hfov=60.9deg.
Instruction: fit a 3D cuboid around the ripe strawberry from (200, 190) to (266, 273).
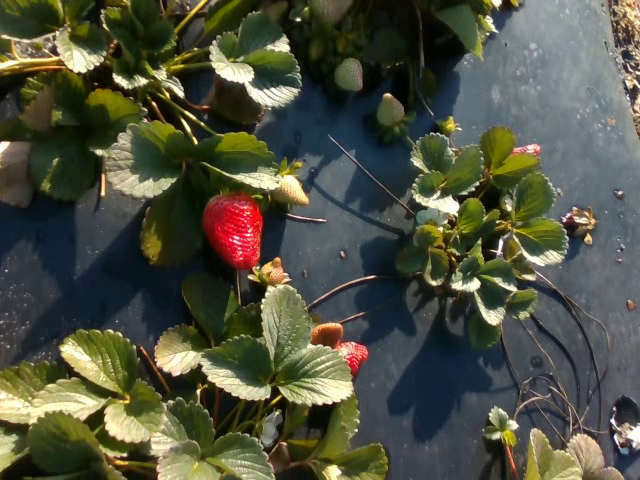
[{"bbox_3d":[-0.064,-0.004,0.410,0.056,0.072,0.055,-32,-21,23],"label":"ripe strawberry"}]
